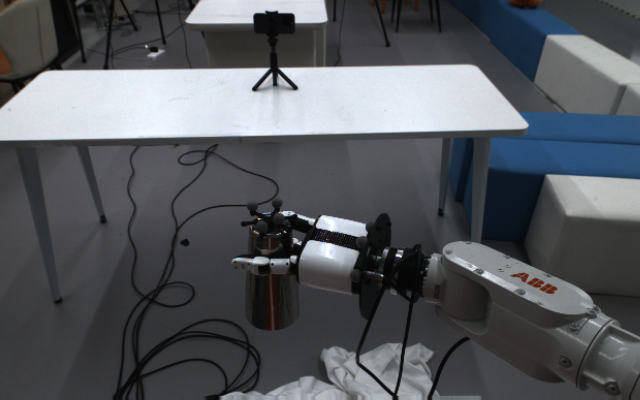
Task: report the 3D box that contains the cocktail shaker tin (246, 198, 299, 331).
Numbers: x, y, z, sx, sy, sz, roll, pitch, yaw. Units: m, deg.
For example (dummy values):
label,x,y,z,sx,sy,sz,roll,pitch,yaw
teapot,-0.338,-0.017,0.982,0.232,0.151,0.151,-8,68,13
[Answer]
label,x,y,z,sx,sy,sz,roll,pitch,yaw
cocktail shaker tin,-0.077,0.112,0.785,0.093,0.170,0.093,1,27,-1
